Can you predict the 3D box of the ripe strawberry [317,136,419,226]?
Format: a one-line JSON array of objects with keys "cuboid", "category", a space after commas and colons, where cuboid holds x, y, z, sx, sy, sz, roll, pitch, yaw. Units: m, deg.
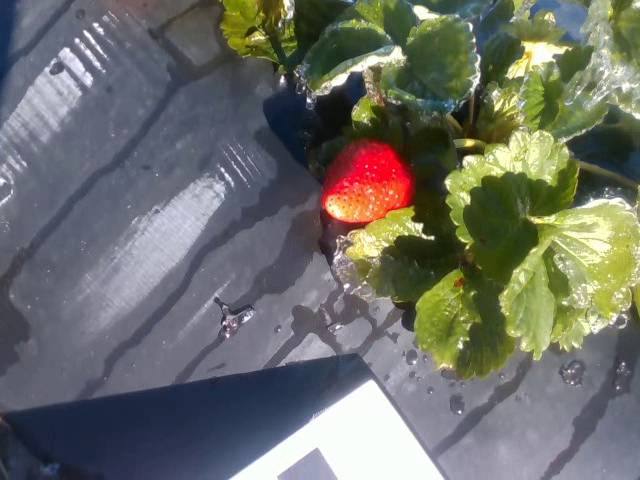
[{"cuboid": [0.016, -0.021, 0.242, 0.052, 0.042, 0.047, -23, -24, -53], "category": "ripe strawberry"}]
